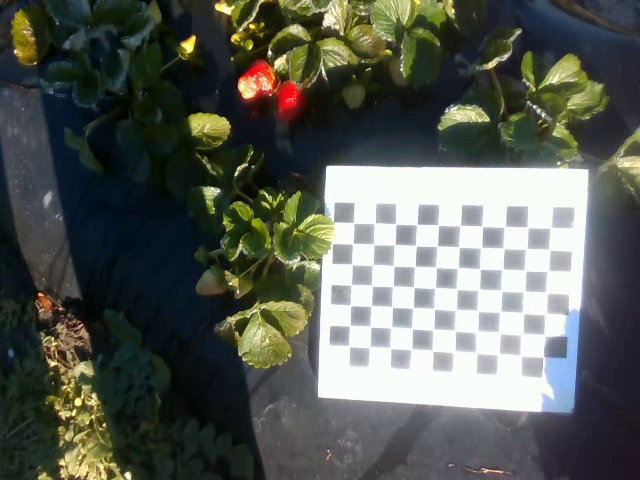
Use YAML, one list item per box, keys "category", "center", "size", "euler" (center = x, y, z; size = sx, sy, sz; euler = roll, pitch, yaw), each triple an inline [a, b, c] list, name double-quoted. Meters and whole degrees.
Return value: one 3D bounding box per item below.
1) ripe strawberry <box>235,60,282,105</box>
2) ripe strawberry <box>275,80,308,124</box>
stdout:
- category: "ripe strawberry"
  center: [-0.090, -0.223, 0.900]
  size: [0.069, 0.053, 0.040]
  euler: [-42, 1, 1]
- category: "ripe strawberry"
  center: [-0.045, -0.198, 0.883]
  size: [0.043, 0.059, 0.040]
  euler: [2, -4, 10]
